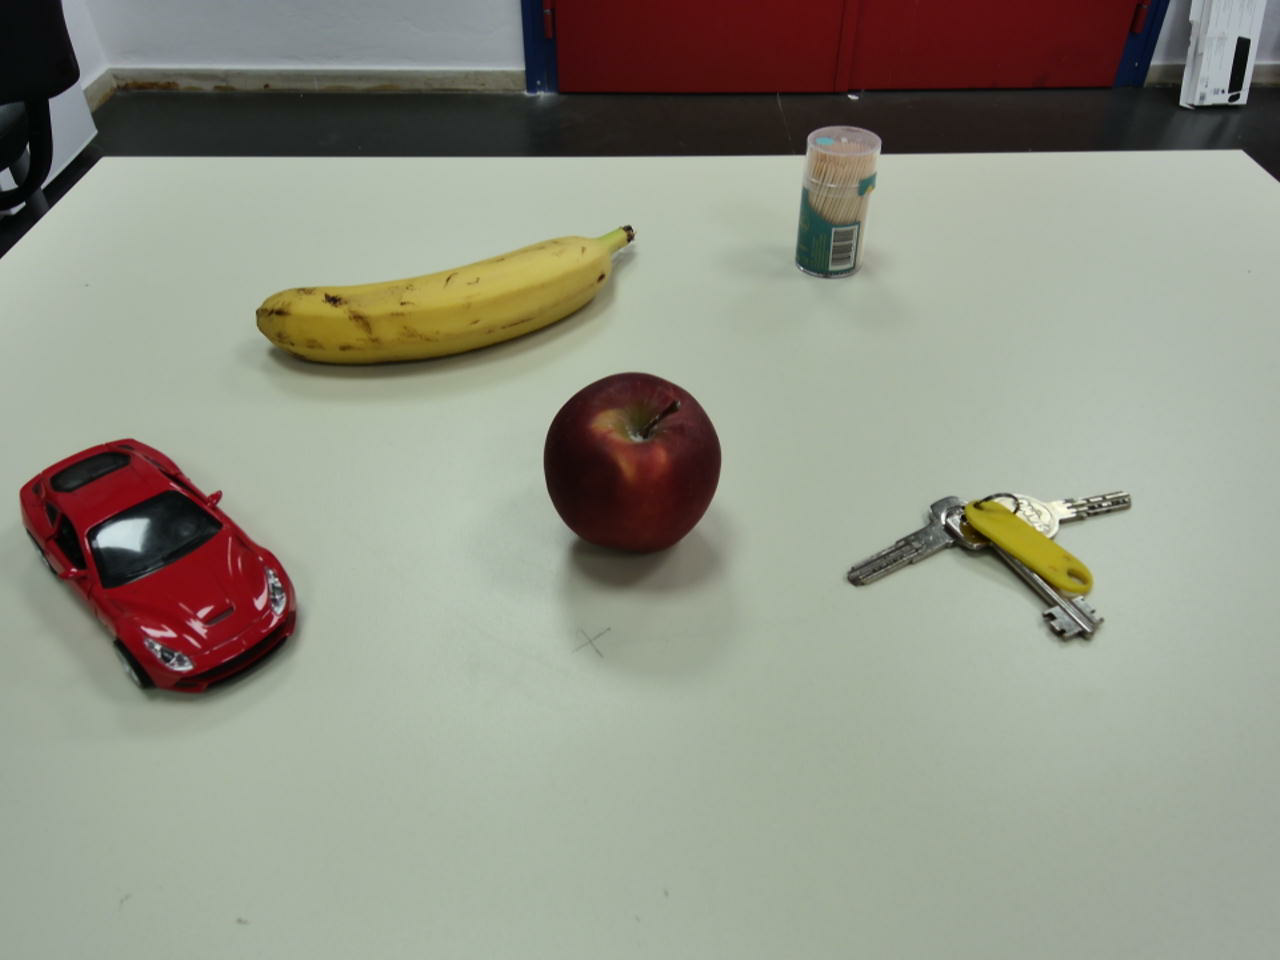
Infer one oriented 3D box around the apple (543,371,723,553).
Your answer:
[{"bbox_3d":[-0.003,-0.005,0.388,0.070,0.072,0.070,1,38,-1],"label":"apple"}]
